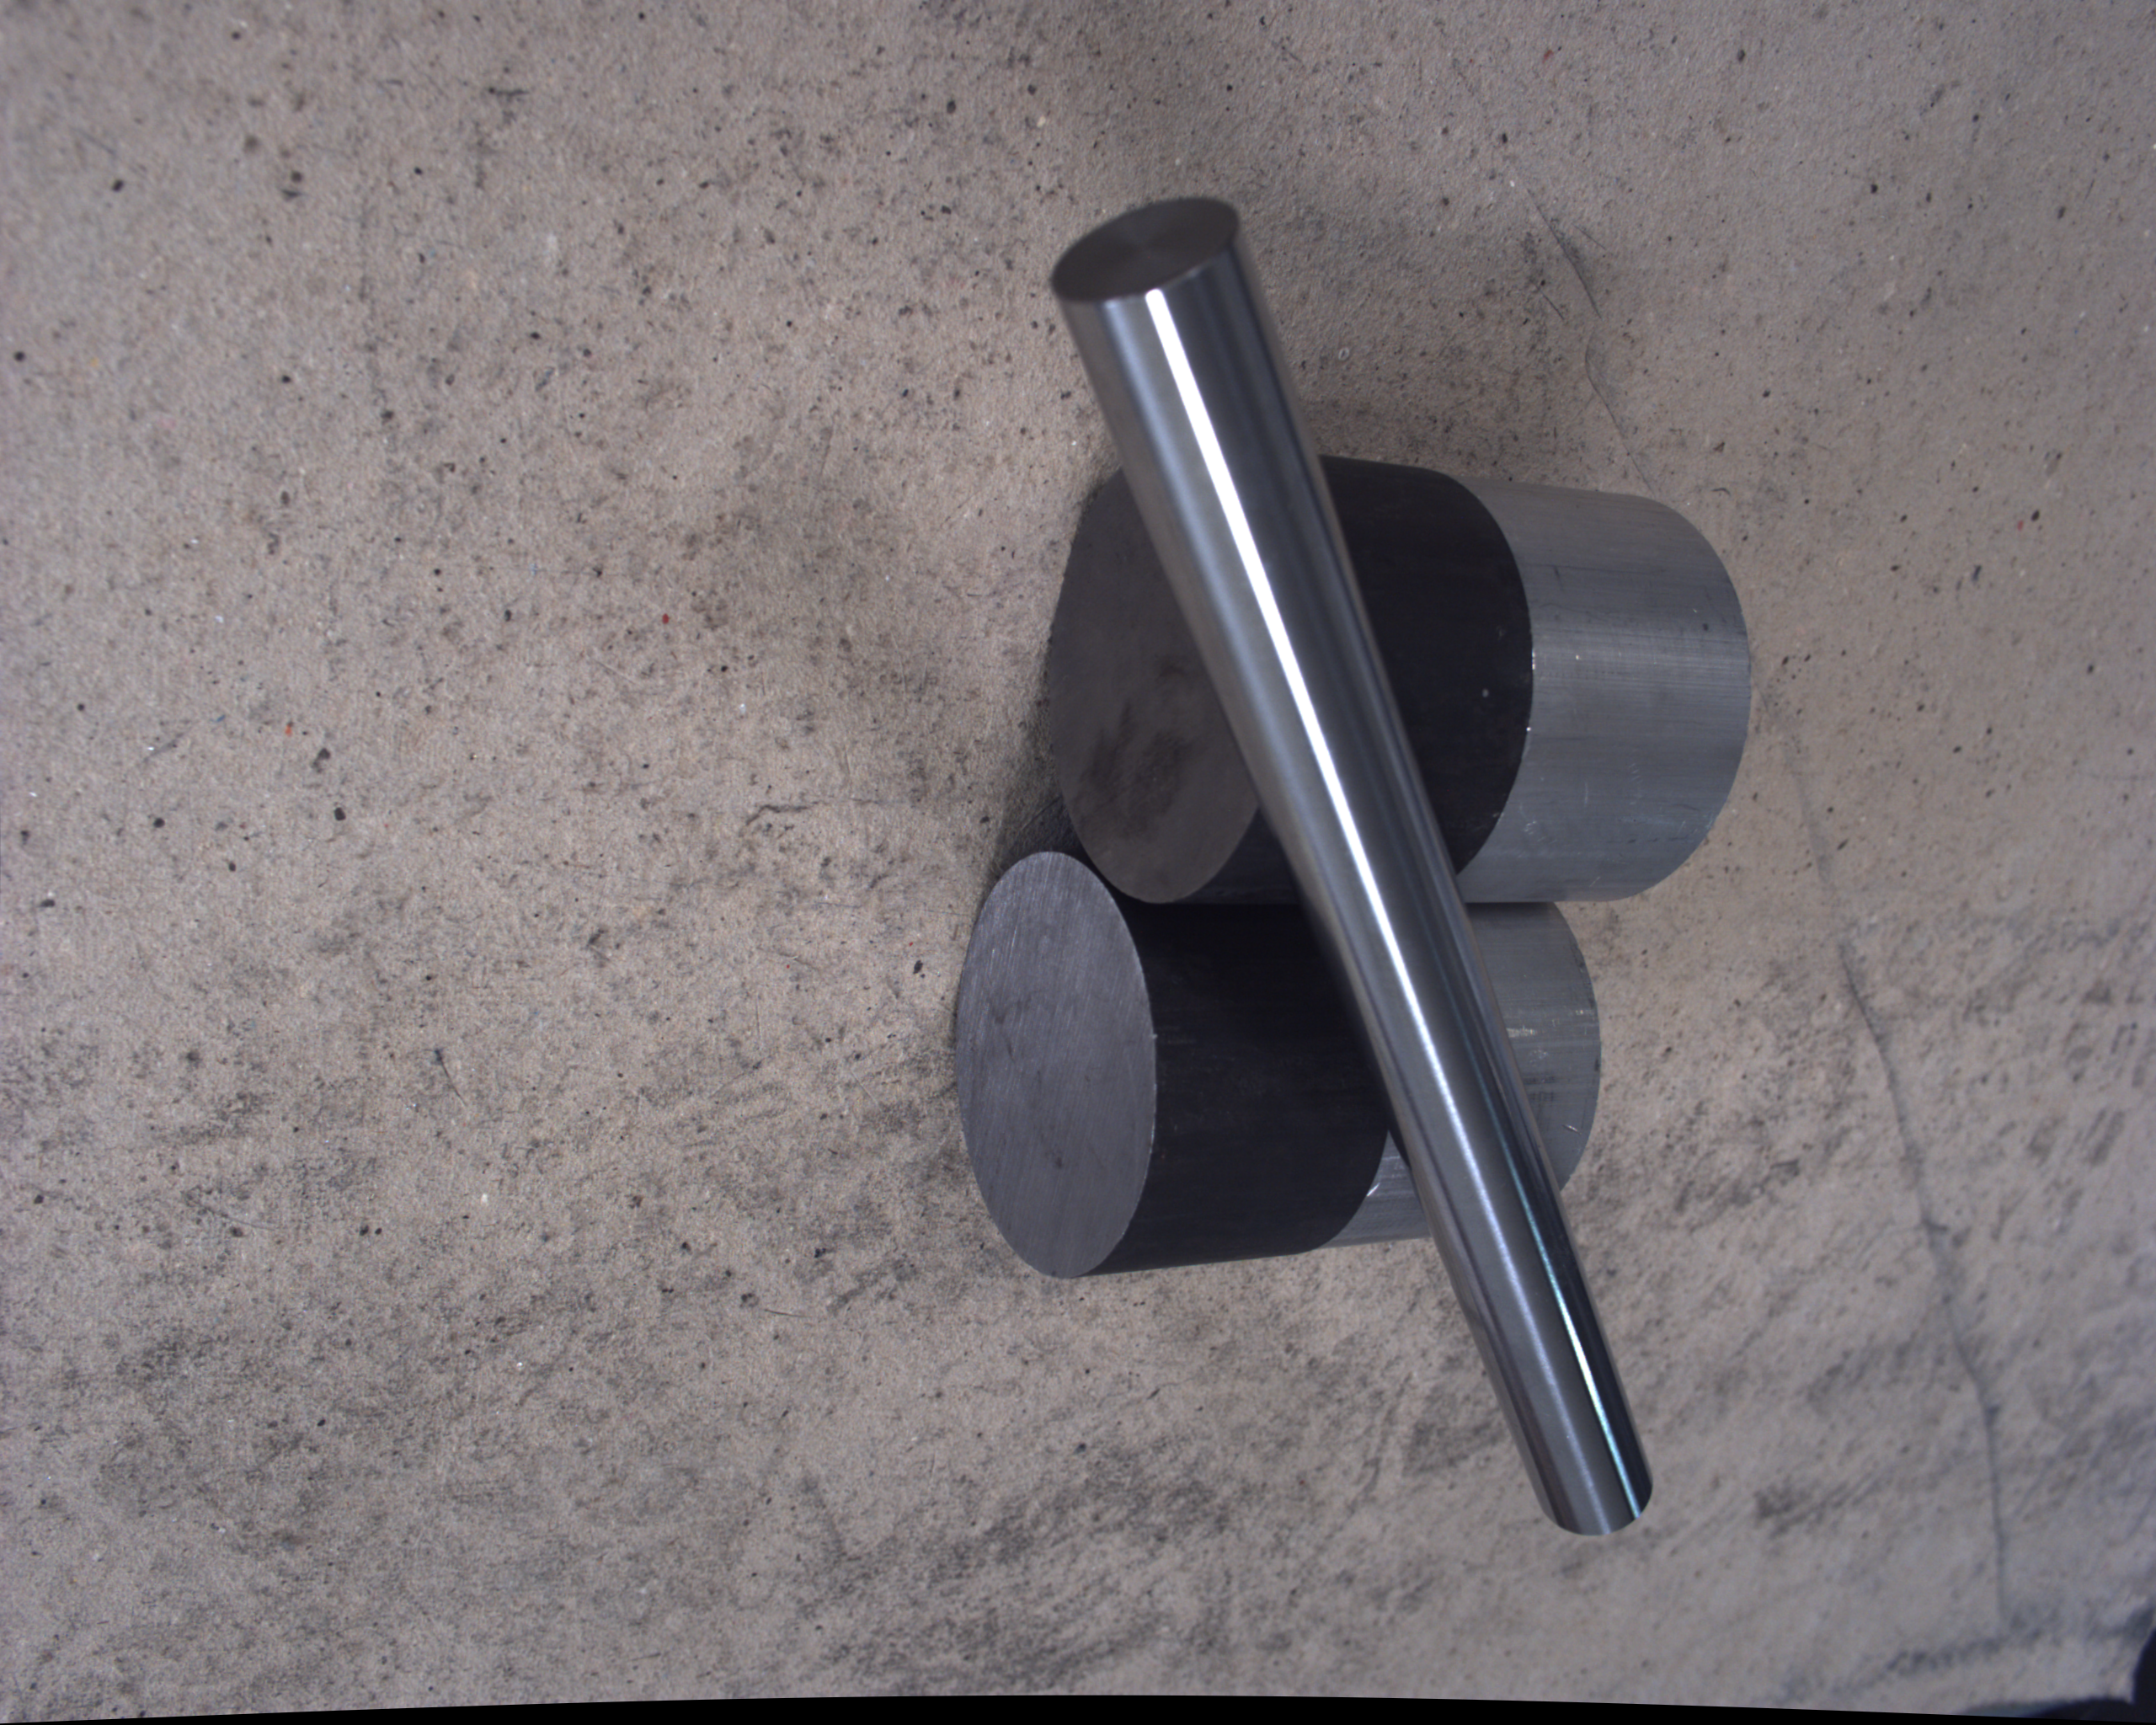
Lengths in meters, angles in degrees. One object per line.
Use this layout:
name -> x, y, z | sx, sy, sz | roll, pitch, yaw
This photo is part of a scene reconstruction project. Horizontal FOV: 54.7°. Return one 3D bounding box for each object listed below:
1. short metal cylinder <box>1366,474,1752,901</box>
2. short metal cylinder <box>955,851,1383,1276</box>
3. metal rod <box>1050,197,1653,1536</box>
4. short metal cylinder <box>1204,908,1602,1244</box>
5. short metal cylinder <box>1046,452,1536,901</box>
short metal cylinder -> 0.079, -0.032, 0.396 | 0.050, 0.080, 0.079 | 1, 118, -29
short metal cylinder -> 0.016, 0.038, 0.405 | 0.050, 0.080, 0.079 | 1, 118, -29
metal rod -> 0.060, 0.028, 0.355 | 0.025, 0.025, 0.299 | -32, 129, -8
short metal cylinder -> 0.061, 0.037, 0.429 | 0.050, 0.080, 0.079 | 1, 118, -29
short metal cylinder -> 0.035, -0.033, 0.372 | 0.050, 0.080, 0.079 | 1, 118, -29
